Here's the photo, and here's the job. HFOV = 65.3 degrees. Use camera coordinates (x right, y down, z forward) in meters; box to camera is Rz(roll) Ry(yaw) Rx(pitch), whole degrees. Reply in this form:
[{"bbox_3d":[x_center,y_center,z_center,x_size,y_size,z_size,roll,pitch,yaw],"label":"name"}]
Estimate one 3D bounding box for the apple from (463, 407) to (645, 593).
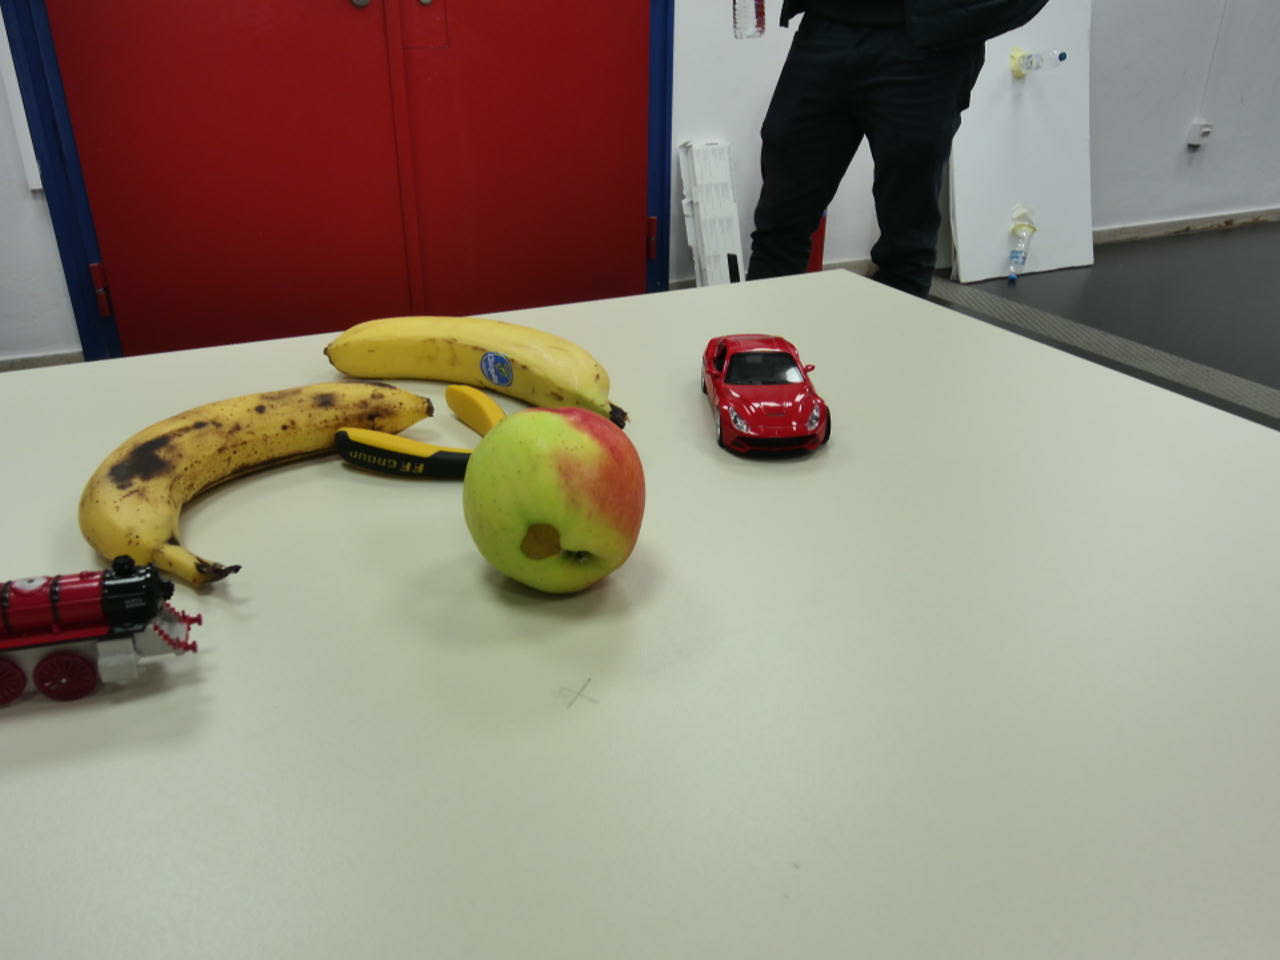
[{"bbox_3d":[-0.033,0.007,0.408,0.075,0.074,0.075,22,32,39],"label":"apple"}]
